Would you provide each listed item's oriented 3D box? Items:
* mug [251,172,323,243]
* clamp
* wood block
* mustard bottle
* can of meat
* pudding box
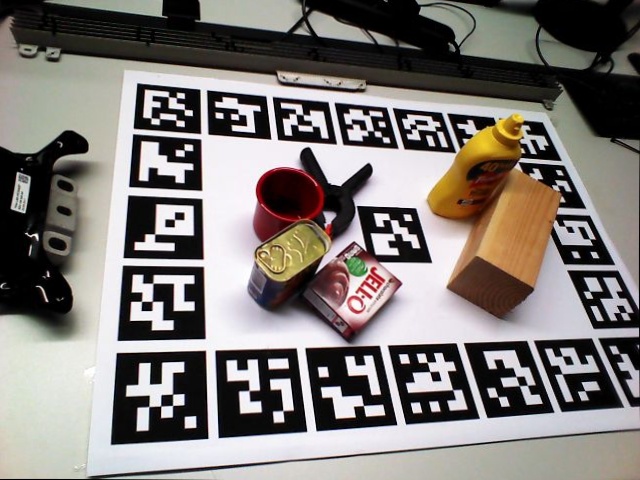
[{"bbox_3d":[-0.048,-0.043,0.730,0.093,0.082,0.116,20,56,-3],"label":"mug"},{"bbox_3d":[0.025,-0.072,0.776,0.122,0.037,0.164,18,56,-6],"label":"clamp"},{"bbox_3d":[0.291,0.006,0.768,0.090,0.091,0.204,31,52,7],"label":"wood block"},{"bbox_3d":[0.251,-0.112,0.765,0.096,0.192,0.058,-3,59,-18],"label":"mustard bottle"},{"bbox_3d":[-0.038,0.032,0.648,0.101,0.084,0.058,-28,70,-30],"label":"can of meat"},{"bbox_3d":[0.052,0.068,0.685,0.090,0.039,0.113,43,55,13],"label":"pudding box"}]
